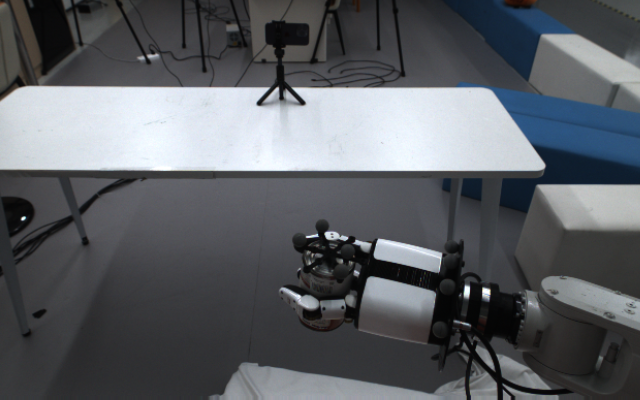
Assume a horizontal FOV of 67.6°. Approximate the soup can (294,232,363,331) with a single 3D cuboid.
[{"bbox_3d":[0.009,0.110,0.618,0.067,0.101,0.067,5,37,-3],"label":"soup can"}]
